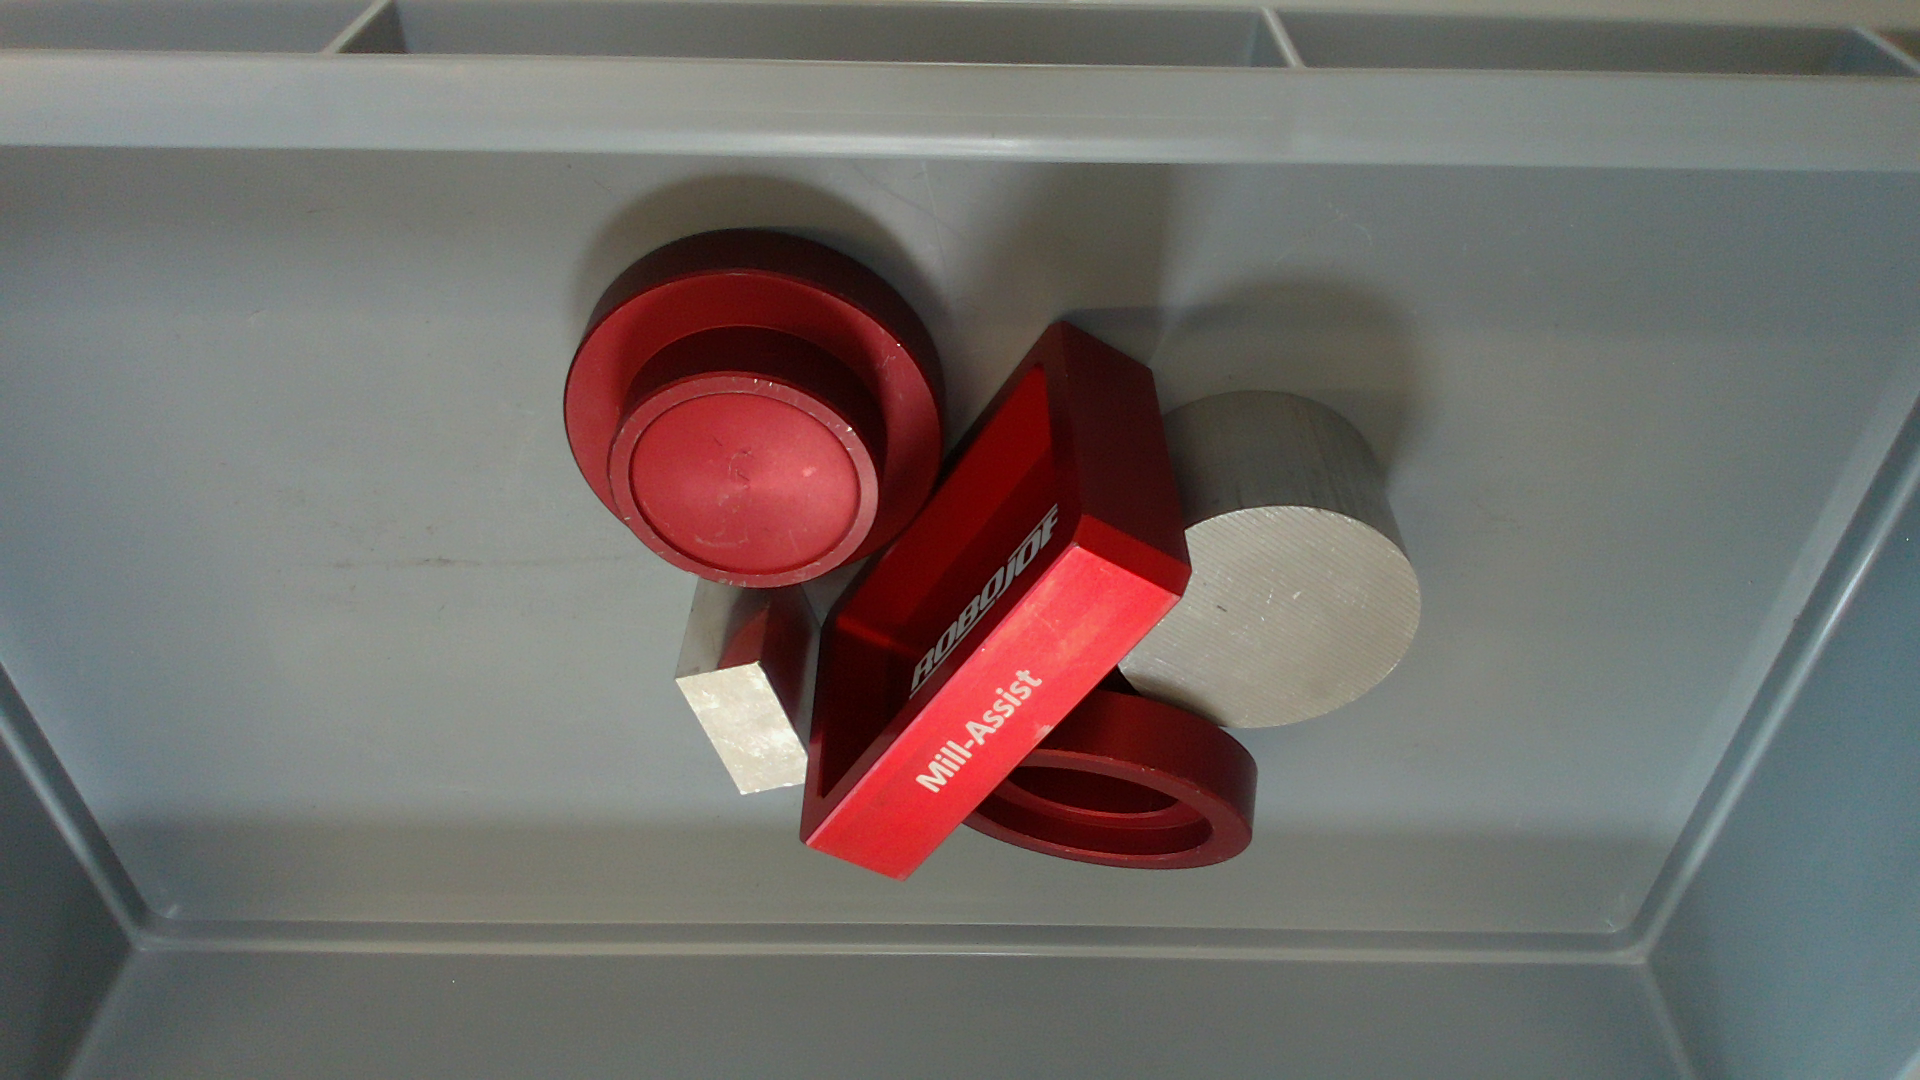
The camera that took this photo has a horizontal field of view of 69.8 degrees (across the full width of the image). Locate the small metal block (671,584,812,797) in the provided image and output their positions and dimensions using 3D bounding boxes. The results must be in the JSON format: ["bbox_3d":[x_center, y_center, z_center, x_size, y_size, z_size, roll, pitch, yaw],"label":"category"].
[{"bbox_3d":[-0.059,0.038,0.404,0.025,0.050,0.050,-12,129,10],"label":"small metal block"}]

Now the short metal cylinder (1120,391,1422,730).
[{"bbox_3d":[0.080,0.006,0.378,0.080,0.050,0.080,0,130,0],"label":"short metal cylinder"}]

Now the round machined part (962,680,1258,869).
[{"bbox_3d":[0.041,0.064,0.417,0.098,0.042,0.098,9,152,5],"label":"round machined part"}]

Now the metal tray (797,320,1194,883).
[{"bbox_3d":[0.004,0.017,0.361,0.030,0.090,0.130,26,125,-20],"label":"metal tray"}]

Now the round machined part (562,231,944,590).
[{"bbox_3d":[-0.053,-0.026,0.355,0.098,0.042,0.098,0,130,0],"label":"round machined part"}]
